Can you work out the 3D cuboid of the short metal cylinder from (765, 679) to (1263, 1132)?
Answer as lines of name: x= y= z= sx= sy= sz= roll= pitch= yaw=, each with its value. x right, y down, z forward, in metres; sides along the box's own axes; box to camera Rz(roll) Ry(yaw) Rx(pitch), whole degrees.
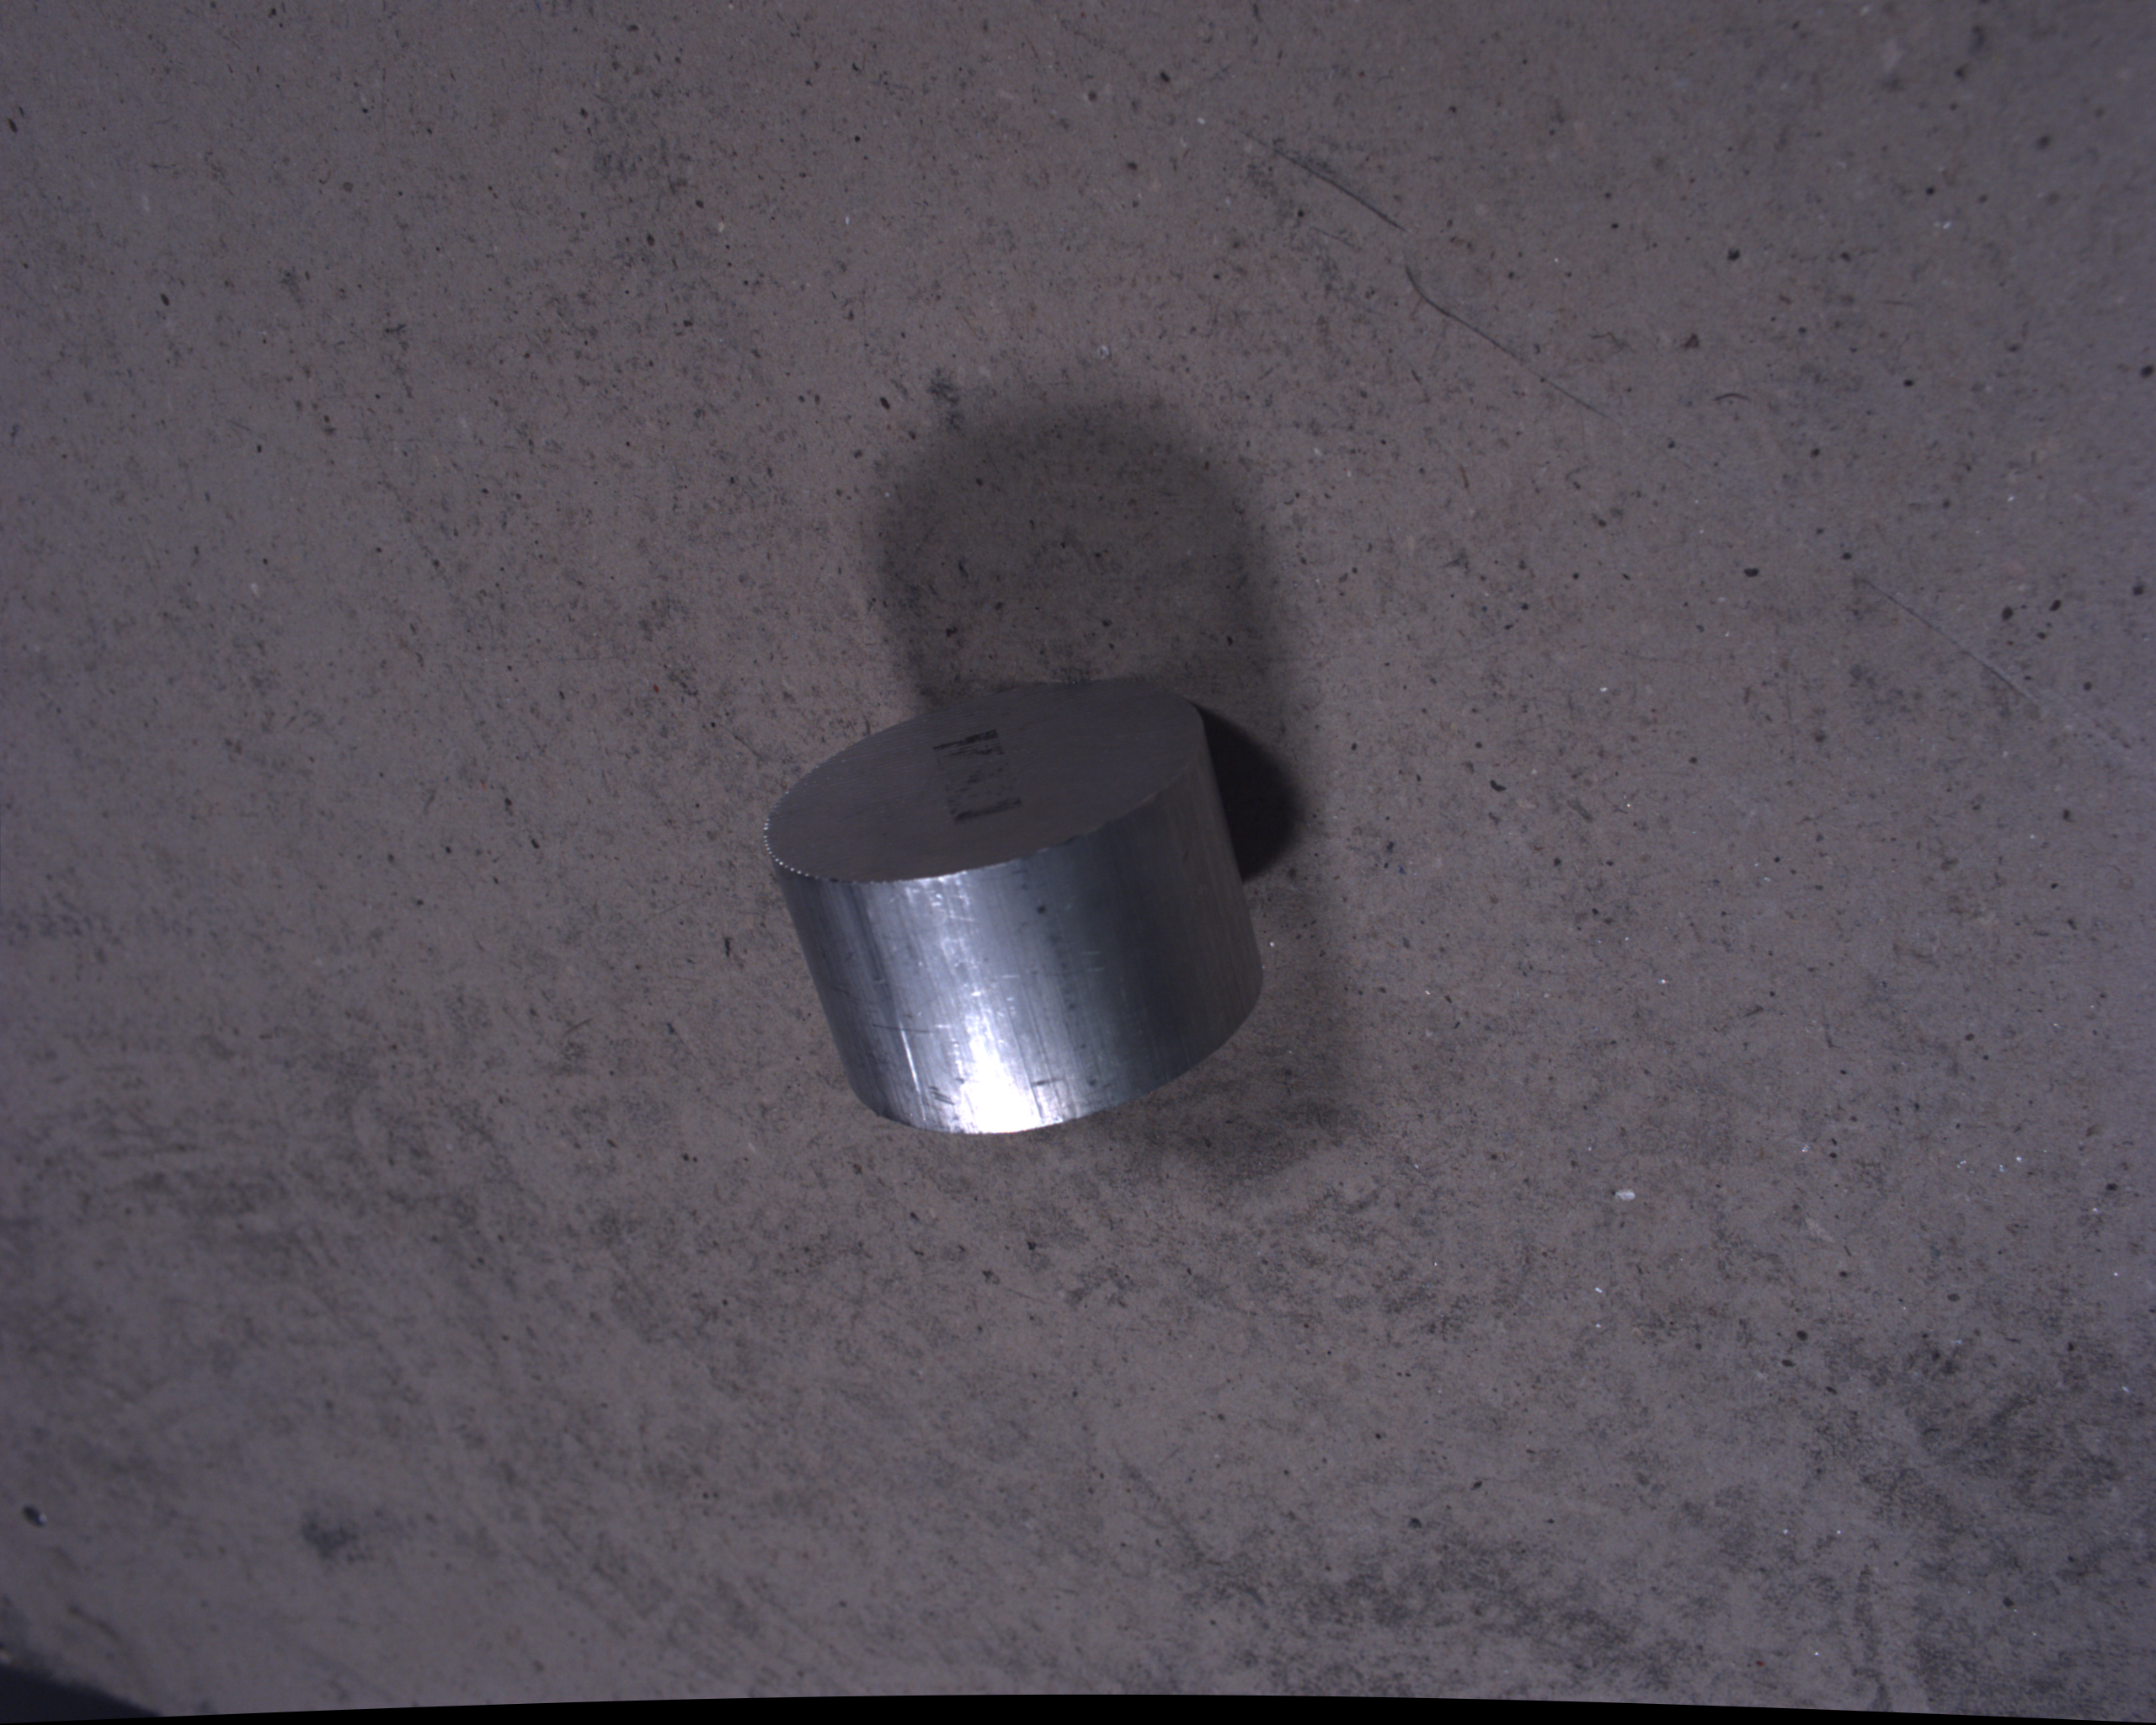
short metal cylinder: x=-0.011 y=0.006 z=0.381 sx=0.080 sy=0.080 sz=0.050 roll=-1 pitch=118 yaw=28
